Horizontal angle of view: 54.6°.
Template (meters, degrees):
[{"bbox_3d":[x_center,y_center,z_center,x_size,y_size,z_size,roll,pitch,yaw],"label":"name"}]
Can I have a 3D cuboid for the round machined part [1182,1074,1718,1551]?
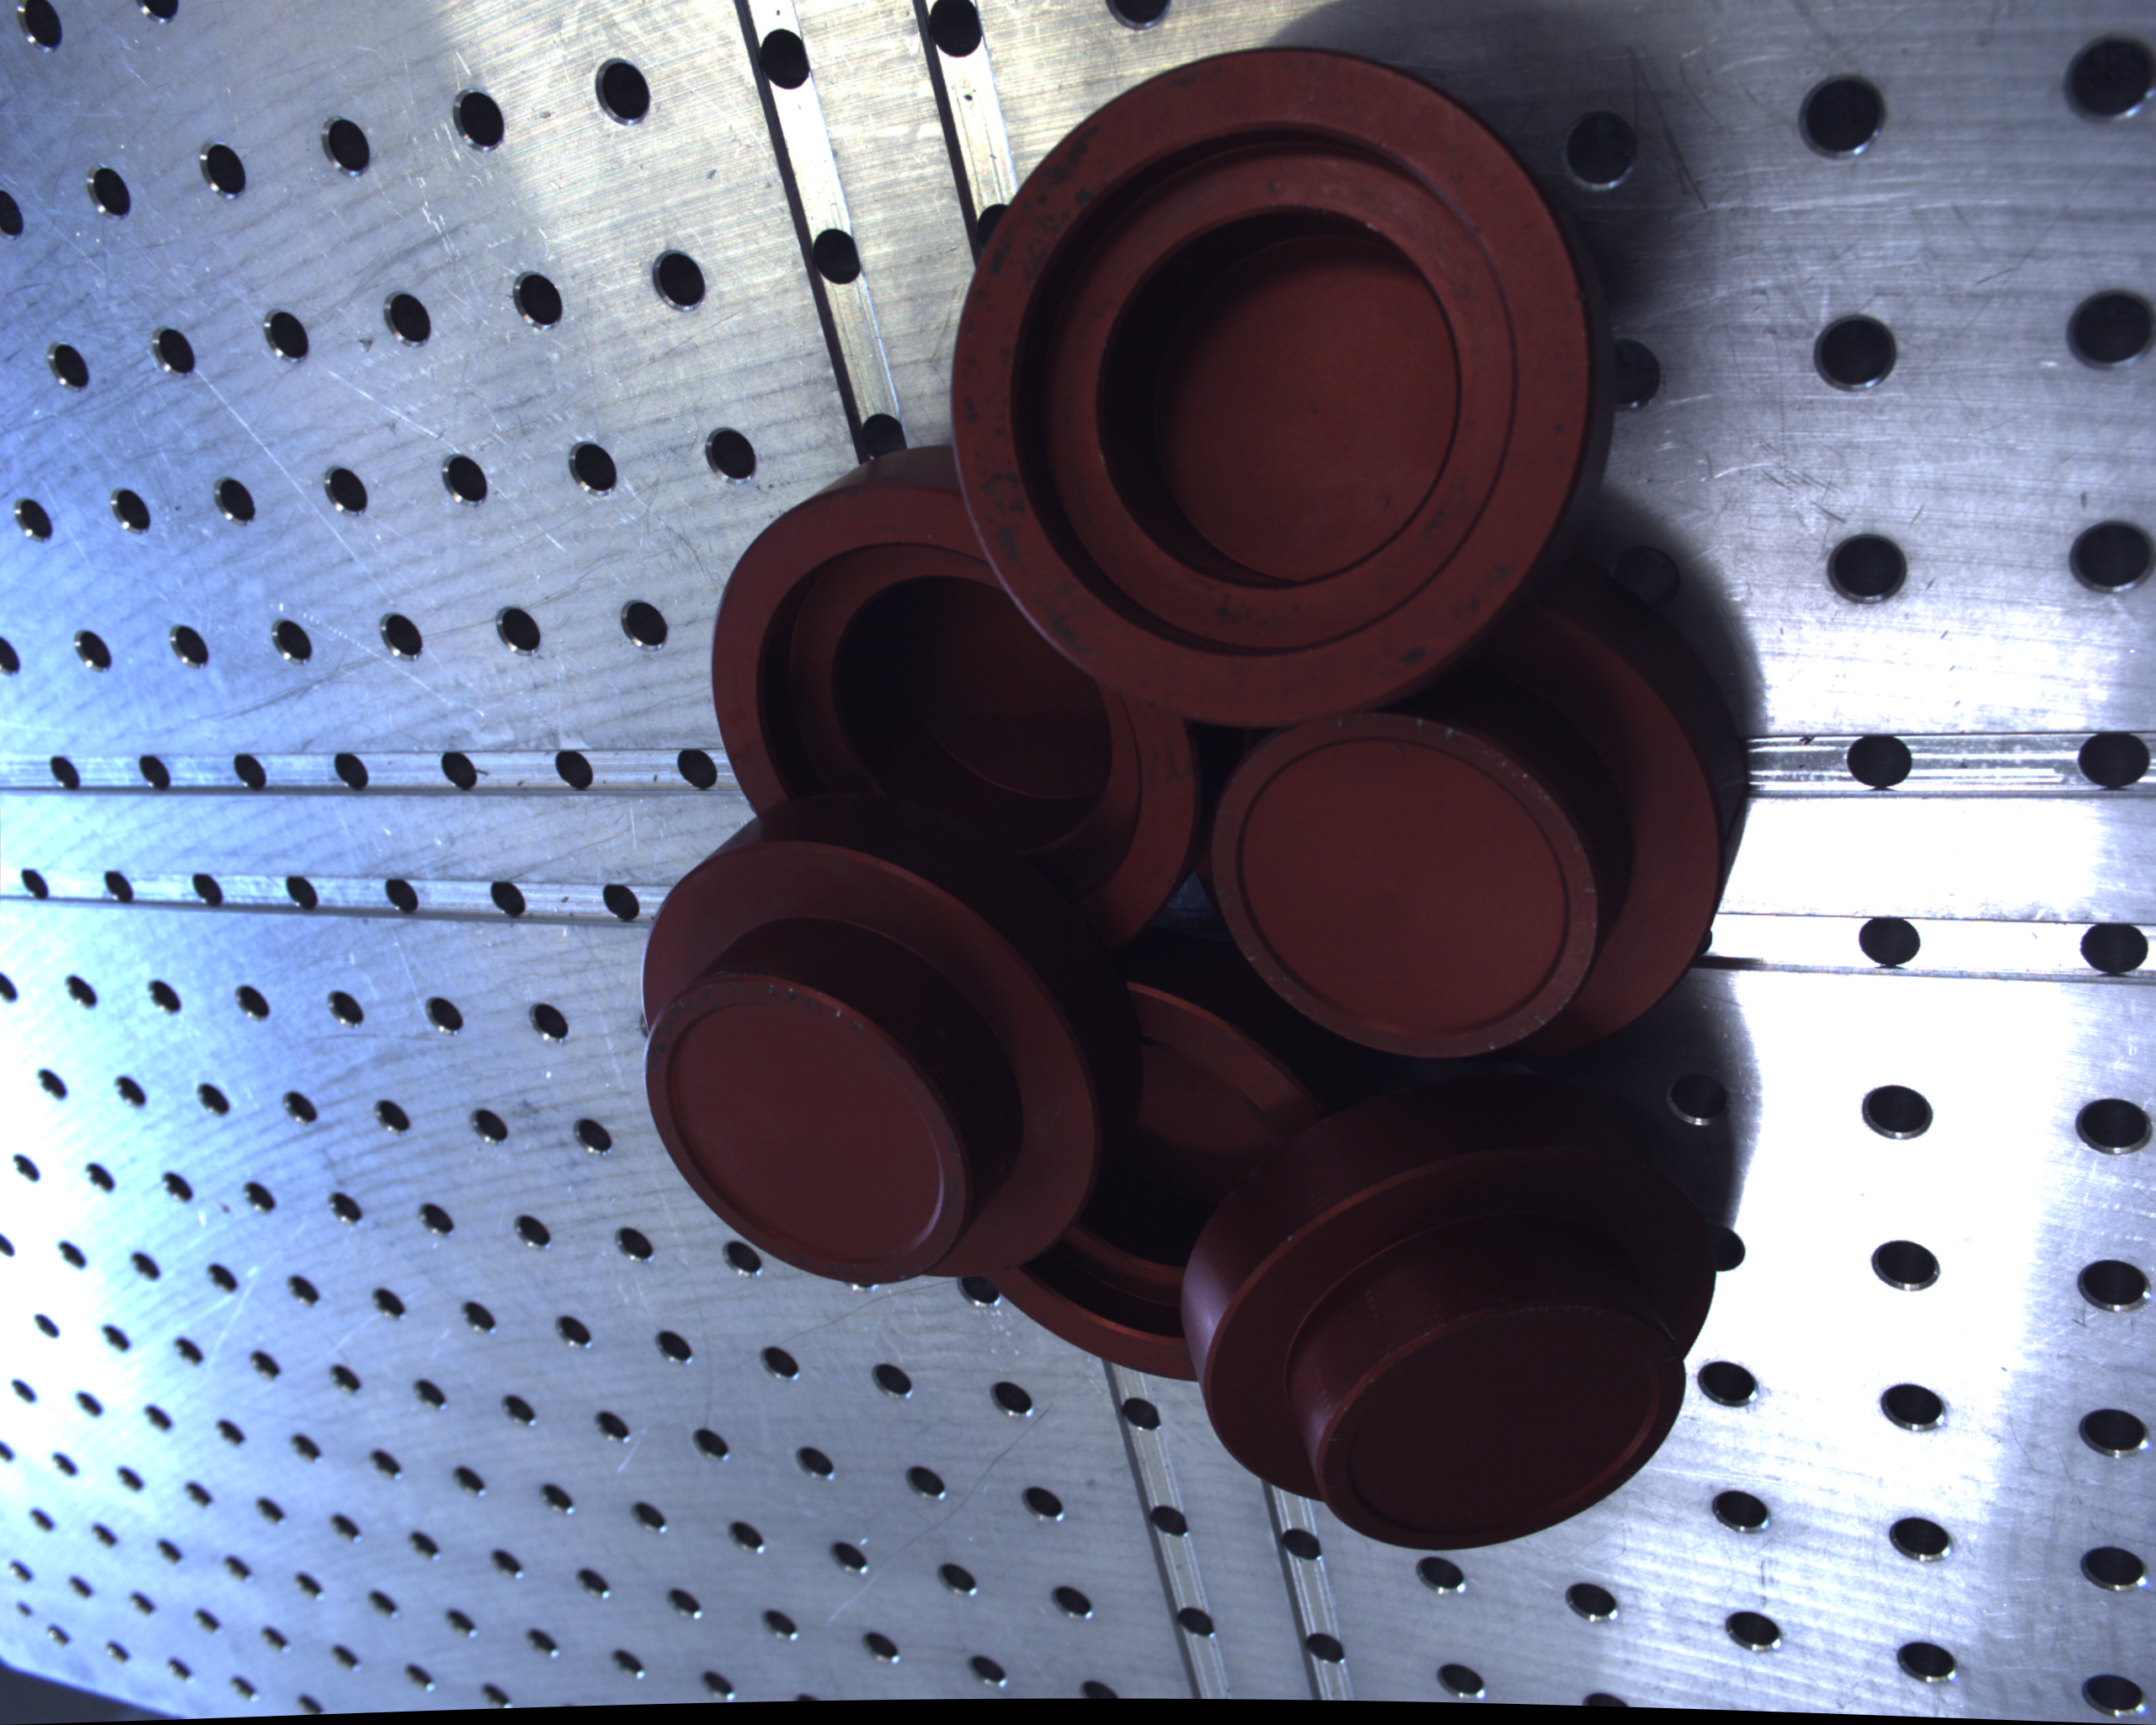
[{"bbox_3d":[0.072,0.089,0.386,0.099,0.042,0.097,-6,127,-8],"label":"round machined part"}]

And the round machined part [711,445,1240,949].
[{"bbox_3d":[-0.015,-0.031,0.390,0.098,0.042,0.097,13,124,21],"label":"round machined part"}]

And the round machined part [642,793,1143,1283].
[{"bbox_3d":[-0.041,0.039,0.392,0.098,0.042,0.097,13,124,21],"label":"round machined part"}]

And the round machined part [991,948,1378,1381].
[{"bbox_3d":[0.019,0.054,0.424,0.098,0.042,0.097,13,124,21],"label":"round machined part"}]

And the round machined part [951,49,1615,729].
[{"bbox_3d":[0.034,-0.071,0.324,0.098,0.042,0.097,3,99,21],"label":"round machined part"}]

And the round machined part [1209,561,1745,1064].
[{"bbox_3d":[0.062,-0.005,0.364,0.098,0.042,0.097,13,124,21],"label":"round machined part"}]

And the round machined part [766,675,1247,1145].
[{"bbox_3d":[-0.012,0.007,0.411,0.098,0.042,0.097,13,124,21],"label":"round machined part"}]
